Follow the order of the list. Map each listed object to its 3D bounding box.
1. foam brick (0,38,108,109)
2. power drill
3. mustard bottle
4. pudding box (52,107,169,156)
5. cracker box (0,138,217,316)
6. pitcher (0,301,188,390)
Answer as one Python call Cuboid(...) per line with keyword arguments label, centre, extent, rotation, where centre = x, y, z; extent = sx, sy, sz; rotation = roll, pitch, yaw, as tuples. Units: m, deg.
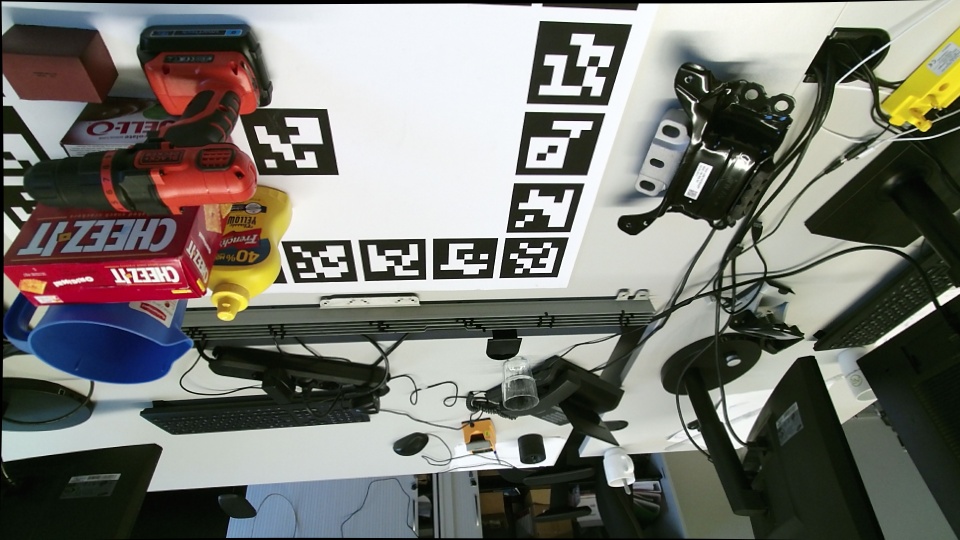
Cuboid(label="foam brick", centre=(-0.436, -0.199, 0.544), extent=(0.078, 0.051, 0.053), rotation=(-1, 136, -8))
Cuboid(label="power drill", centre=(-0.306, -0.128, 0.492), extent=(0.185, 0.186, 0.057), rotation=(-3, 141, -5))
Cuboid(label="mustard bottle", centre=(-0.304, -0.002, 0.665), extent=(0.096, 0.190, 0.058), rotation=(7, 135, -17))
Cuboid(label="pudding box", centre=(-0.379, -0.135, 0.576), extent=(0.114, 0.089, 0.039), rotation=(-4, 140, -9))
Cuboid(label="cracker box", centre=(-0.383, -0.062, 0.576), extent=(0.165, 0.212, 0.072), rotation=(-6, 140, -7))
Cuboid(label="pitcher", centre=(-0.435, 0.012, 0.643), extent=(0.189, 0.241, 0.133), rotation=(0, 138, -13))
